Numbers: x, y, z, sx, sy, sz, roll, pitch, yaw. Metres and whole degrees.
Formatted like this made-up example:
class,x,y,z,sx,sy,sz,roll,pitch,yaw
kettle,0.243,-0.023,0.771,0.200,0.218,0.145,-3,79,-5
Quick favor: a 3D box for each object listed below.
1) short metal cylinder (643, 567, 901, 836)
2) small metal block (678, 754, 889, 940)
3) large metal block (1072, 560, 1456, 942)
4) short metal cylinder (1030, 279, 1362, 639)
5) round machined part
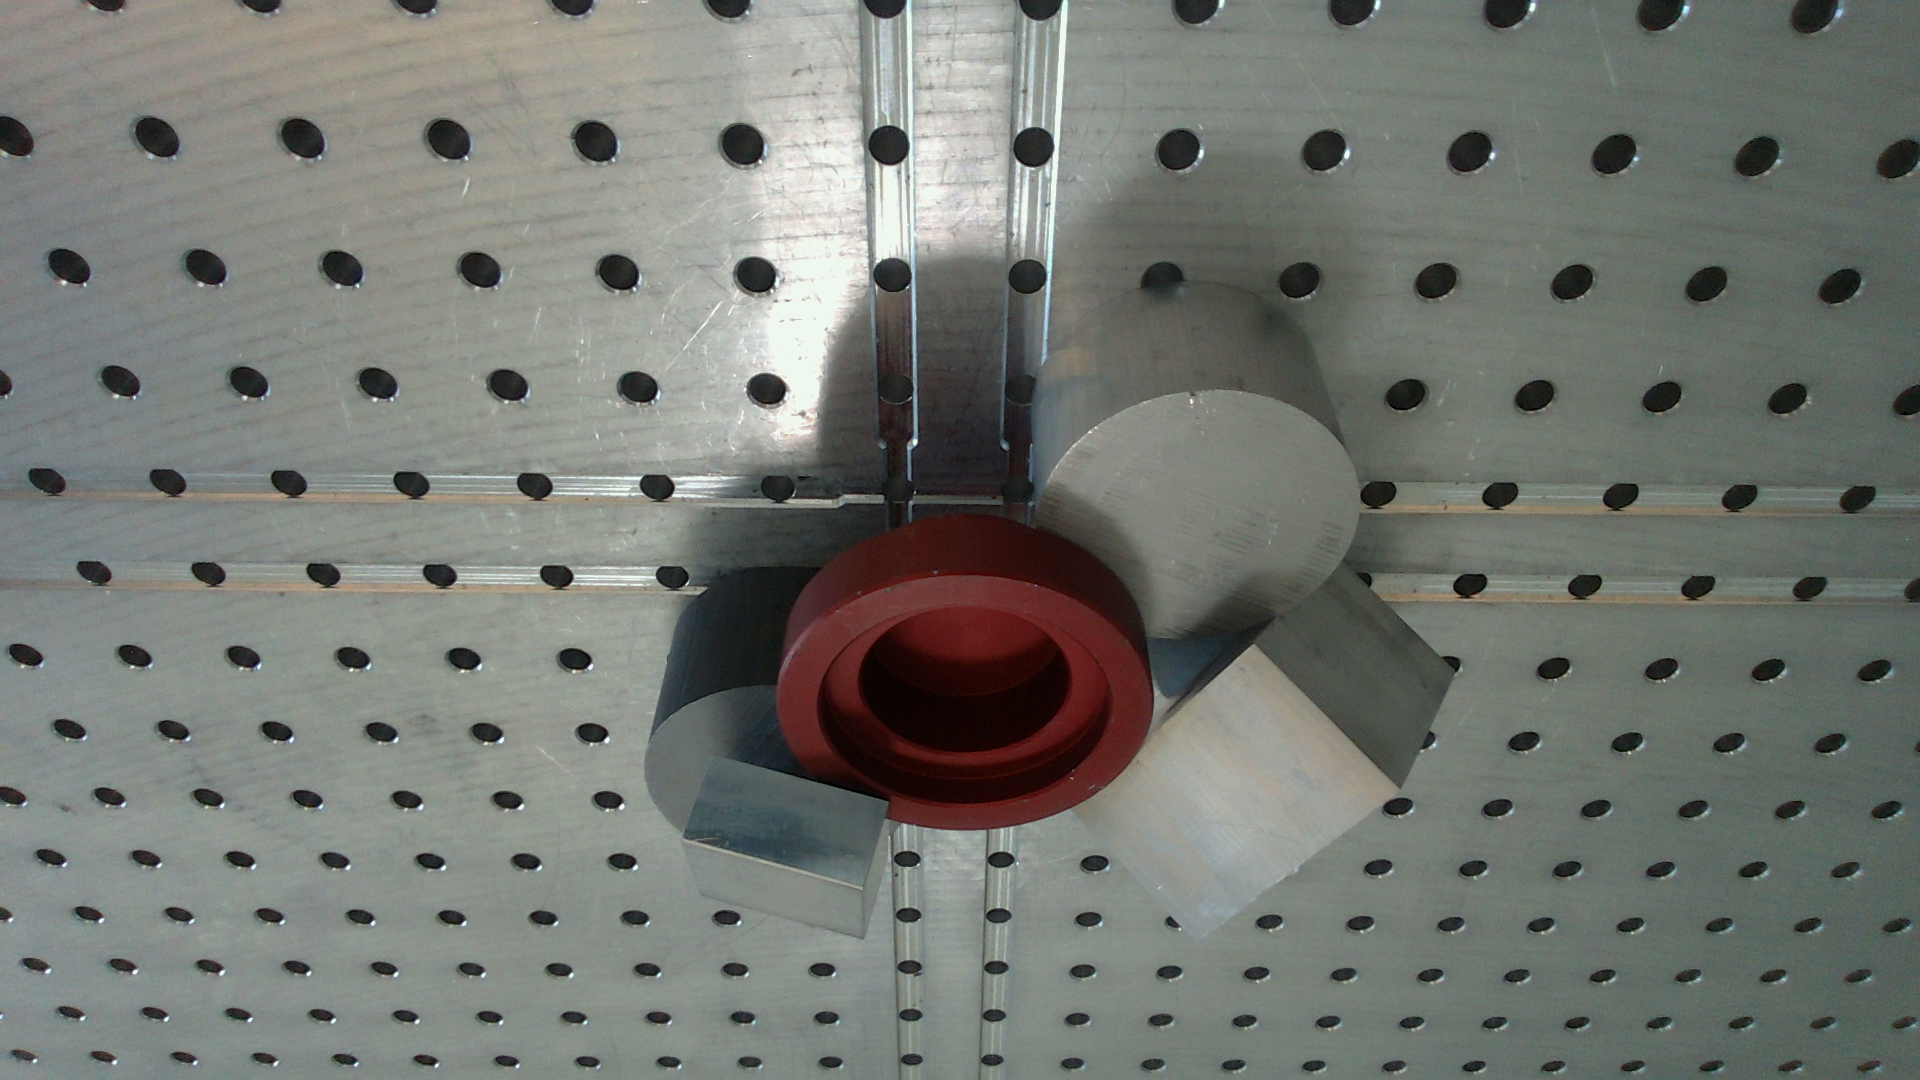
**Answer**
class,x,y,z,sx,sy,sz,roll,pitch,yaw
short metal cylinder,-0.053,0.055,0.423,0.080,0.050,0.080,0,130,0
small metal block,-0.048,0.087,0.385,0.050,0.025,0.050,14,149,4
large metal block,0.088,0.057,0.397,0.050,0.080,0.080,46,123,8
short metal cylinder,0.059,-0.020,0.360,0.080,0.050,0.080,0,130,0
round machined part,0.001,0.031,0.370,0.098,0.042,0.098,0,130,0
